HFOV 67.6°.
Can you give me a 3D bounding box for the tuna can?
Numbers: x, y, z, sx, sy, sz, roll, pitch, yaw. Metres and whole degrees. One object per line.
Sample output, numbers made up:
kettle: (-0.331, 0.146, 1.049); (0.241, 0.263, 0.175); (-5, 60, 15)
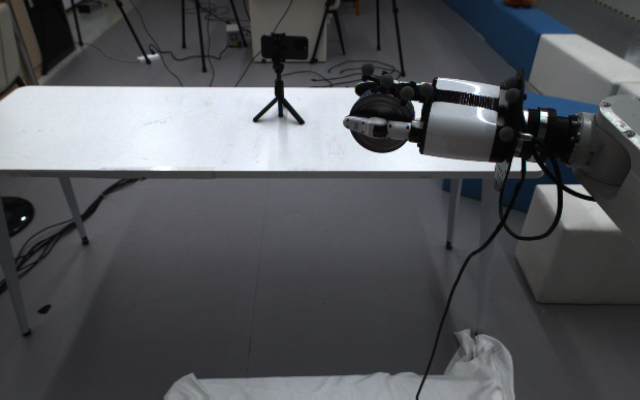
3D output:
tuna can: (0.085, -0.112, 0.656); (0.085, 0.085, 0.034); (12, 33, 14)
